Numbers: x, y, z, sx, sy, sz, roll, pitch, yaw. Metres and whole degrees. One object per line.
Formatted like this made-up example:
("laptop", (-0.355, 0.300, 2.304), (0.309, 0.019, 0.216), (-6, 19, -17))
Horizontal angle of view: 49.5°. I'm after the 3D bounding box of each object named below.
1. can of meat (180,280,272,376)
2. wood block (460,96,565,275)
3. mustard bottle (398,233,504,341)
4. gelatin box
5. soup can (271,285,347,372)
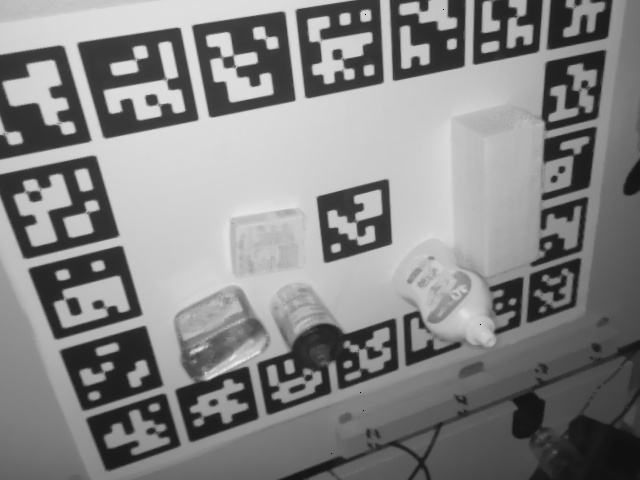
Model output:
("can of meat", (-0.116, 0.103, 0.840), (0.102, 0.083, 0.057), (-26, 121, -5))
("wood block", (0.244, -0.068, 0.897), (0.092, 0.090, 0.204), (-13, 123, -13))
("mustard bottle", (0.177, 0.067, 0.881), (0.096, 0.191, 0.058), (-36, 123, 1))
("gelatin box", (-0.061, -0.007, 0.834), (0.090, 0.030, 0.073), (-6, 115, -22))
("soup can", (-0.016, 0.107, 0.860), (0.068, 0.102, 0.067), (-9, 116, -17))
